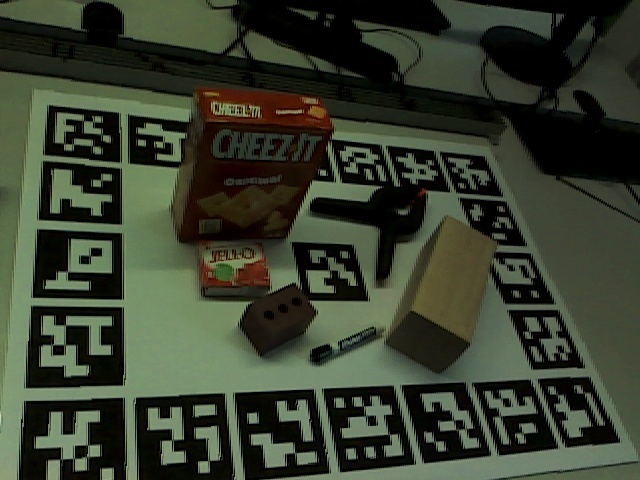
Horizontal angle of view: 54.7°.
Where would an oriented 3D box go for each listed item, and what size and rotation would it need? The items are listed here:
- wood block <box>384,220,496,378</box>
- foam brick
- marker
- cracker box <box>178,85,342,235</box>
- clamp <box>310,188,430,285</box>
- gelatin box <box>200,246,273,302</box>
[{"bbox_3d":[0.176,0.079,0.889,0.090,0.091,0.206,28,46,3],"label":"wood block"},{"bbox_3d":[-0.056,0.106,0.791,0.077,0.051,0.053,-22,66,-34],"label":"foam brick"},{"bbox_3d":[0.027,0.143,0.817,0.120,0.019,0.020,-17,64,-32],"label":"marker"},{"bbox_3d":[-0.087,-0.093,0.821,0.163,0.214,0.072,0,53,-25],"label":"cracker box"},{"bbox_3d":[0.105,-0.031,0.977,0.202,0.037,0.166,-28,69,-36],"label":"clamp"},{"bbox_3d":[-0.113,0.045,0.833,0.089,0.030,0.073,2,55,-22],"label":"gelatin box"}]
